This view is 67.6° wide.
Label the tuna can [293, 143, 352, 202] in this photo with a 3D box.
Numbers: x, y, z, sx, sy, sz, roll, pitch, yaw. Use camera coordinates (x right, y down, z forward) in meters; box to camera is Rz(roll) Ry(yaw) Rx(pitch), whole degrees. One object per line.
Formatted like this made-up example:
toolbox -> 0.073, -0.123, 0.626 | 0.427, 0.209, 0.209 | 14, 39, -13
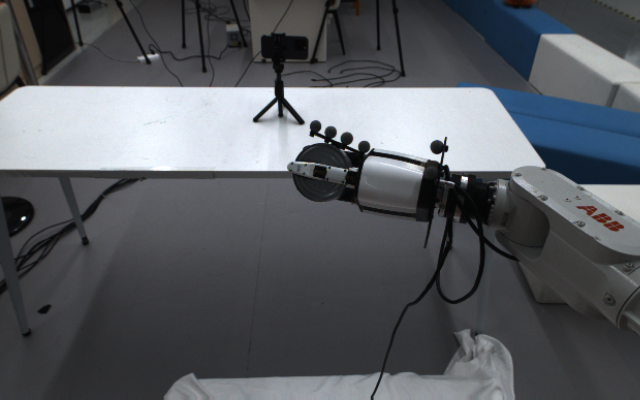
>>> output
tuna can -> 0.006, -0.041, 0.711 | 0.085, 0.085, 0.034 | 13, 2, 16
